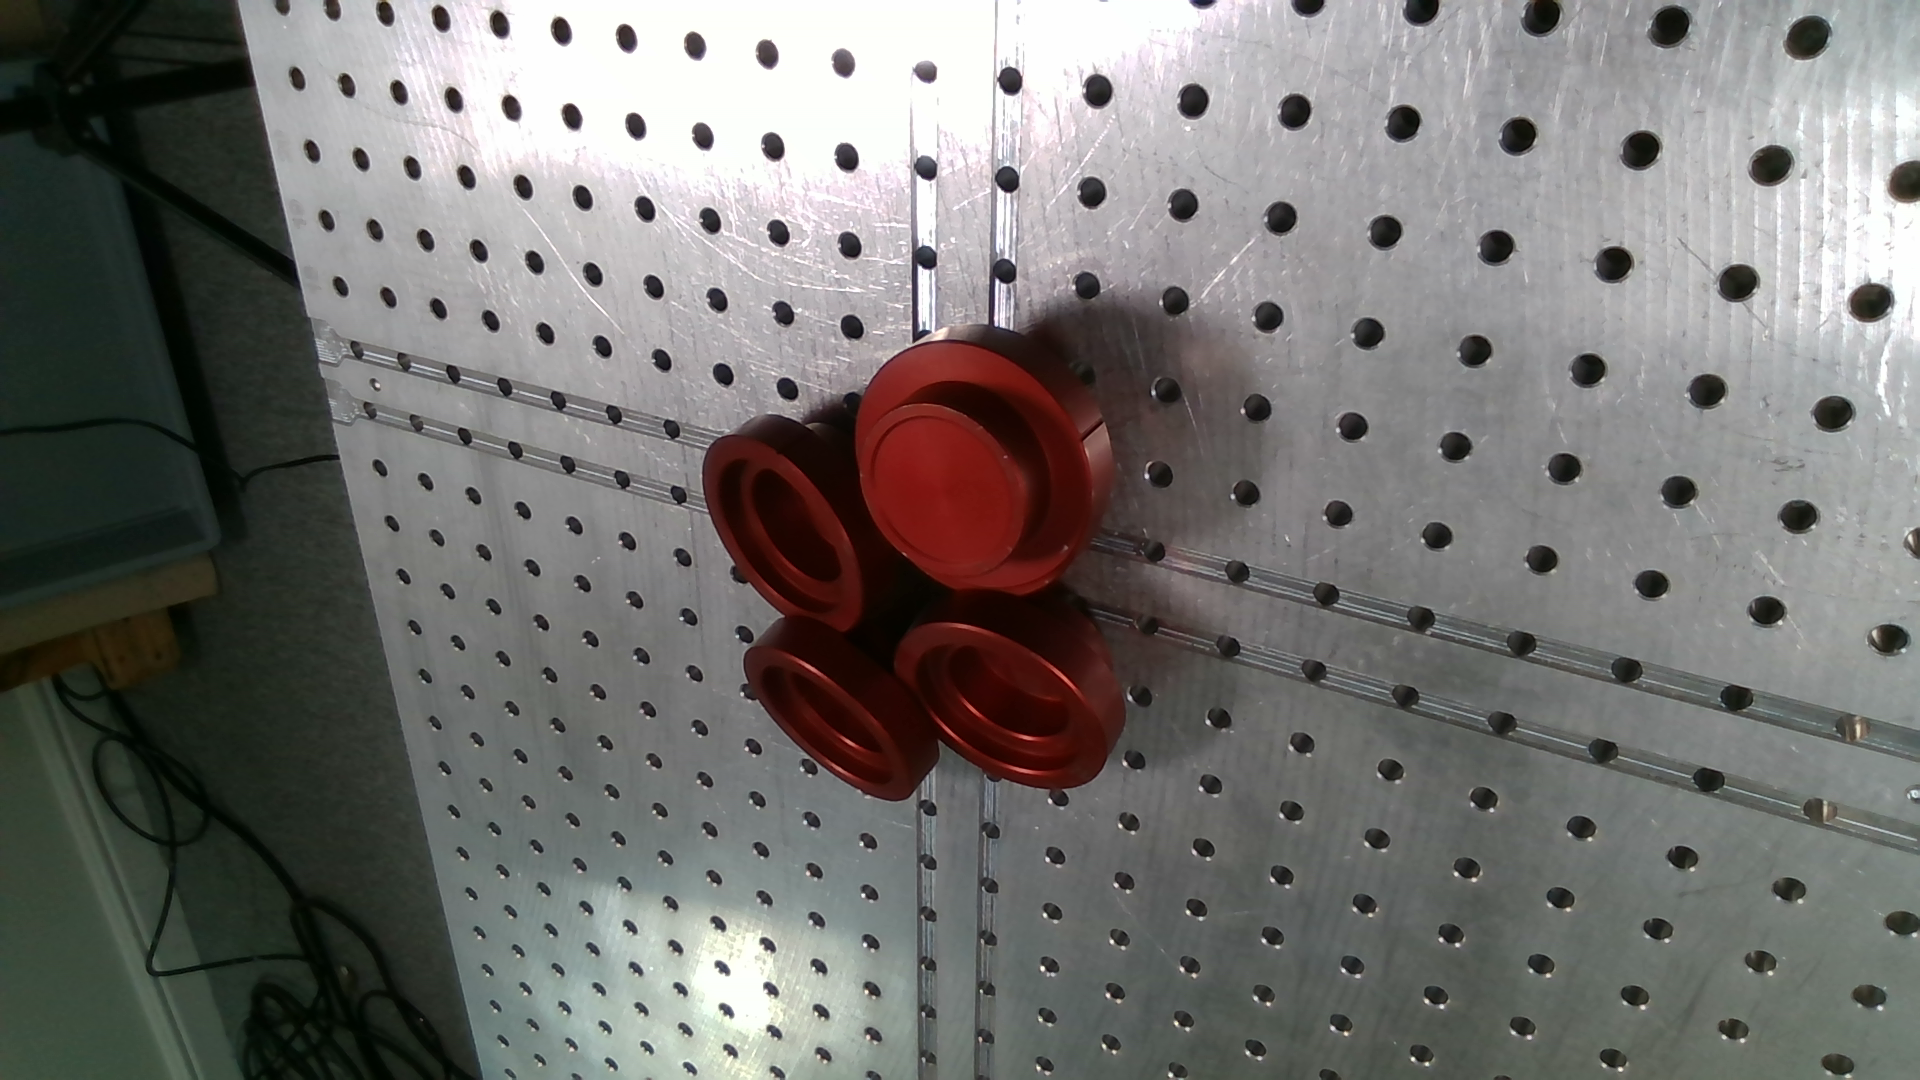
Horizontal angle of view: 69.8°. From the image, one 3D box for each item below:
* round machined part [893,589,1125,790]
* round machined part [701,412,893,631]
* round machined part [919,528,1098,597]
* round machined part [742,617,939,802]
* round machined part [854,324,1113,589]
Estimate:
[{"bbox_3d":[0.025,0.056,0.576,0.098,0.042,0.098,21,141,19],"label":"round machined part"},{"bbox_3d":[-0.063,-0.012,0.593,0.098,0.042,0.098,31,140,30],"label":"round machined part"},{"bbox_3d":[0.013,-0.029,0.547,0.098,0.042,0.098,14,122,25],"label":"round machined part"},{"bbox_3d":[-0.048,0.070,0.625,0.098,0.042,0.098,31,150,20],"label":"round machined part"},{"bbox_3d":[0.002,-0.026,0.502,0.098,0.042,0.098,14,122,25],"label":"round machined part"}]
